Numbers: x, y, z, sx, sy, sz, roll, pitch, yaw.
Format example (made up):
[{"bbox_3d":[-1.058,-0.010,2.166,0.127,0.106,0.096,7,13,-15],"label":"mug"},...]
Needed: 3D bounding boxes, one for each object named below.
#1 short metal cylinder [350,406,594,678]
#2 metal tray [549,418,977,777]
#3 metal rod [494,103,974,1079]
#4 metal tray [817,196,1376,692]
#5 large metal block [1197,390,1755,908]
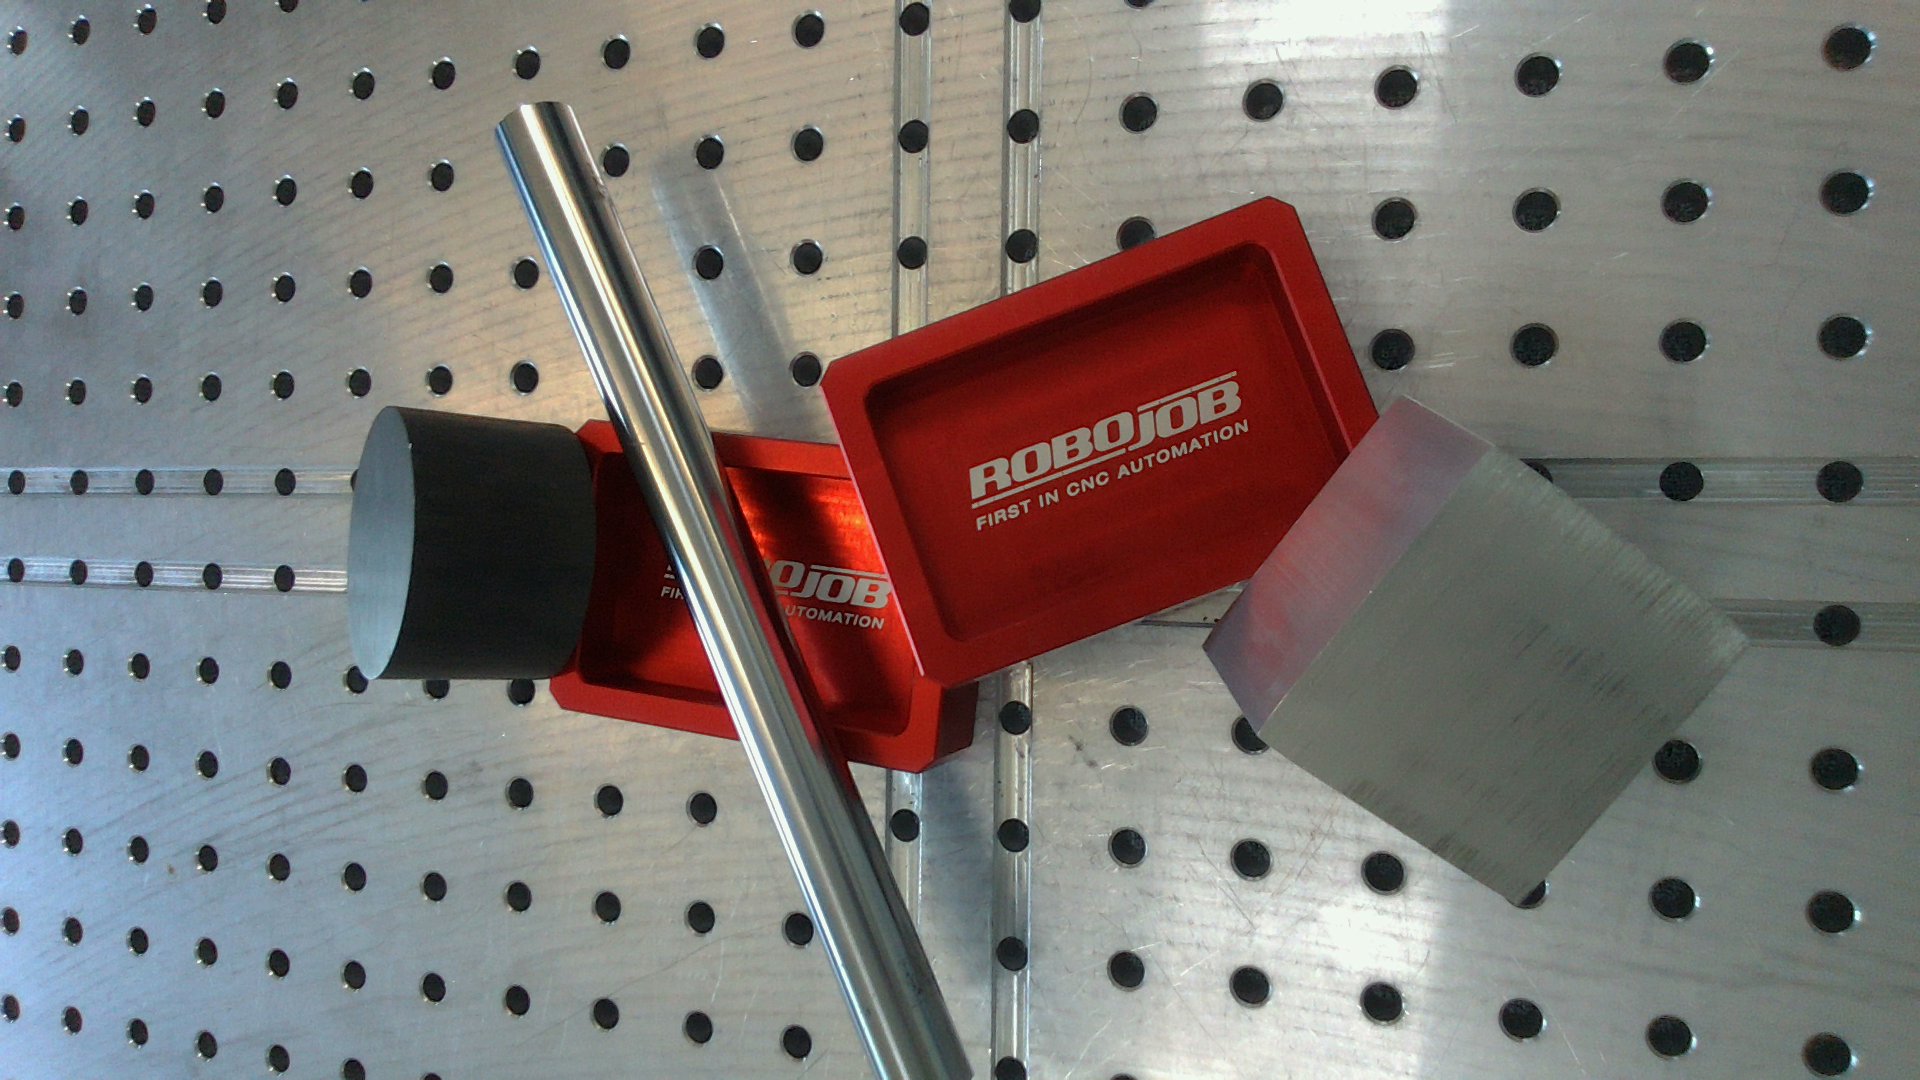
[{"bbox_3d":[-0.151,0.002,0.420,0.080,0.050,0.080,-8,80,54],"label":"short metal cylinder"},{"bbox_3d":[-0.057,0.014,0.416,0.130,0.030,0.090,7,93,20],"label":"metal tray"},{"bbox_3d":[-0.067,0.012,0.390,0.025,0.025,0.300,-26,81,18],"label":"metal rod"},{"bbox_3d":[0.039,-0.024,0.361,0.130,0.030,0.090,-20,83,2],"label":"metal tray"},{"bbox_3d":[0.117,0.025,0.324,0.080,0.050,0.080,33,103,-15],"label":"large metal block"}]
